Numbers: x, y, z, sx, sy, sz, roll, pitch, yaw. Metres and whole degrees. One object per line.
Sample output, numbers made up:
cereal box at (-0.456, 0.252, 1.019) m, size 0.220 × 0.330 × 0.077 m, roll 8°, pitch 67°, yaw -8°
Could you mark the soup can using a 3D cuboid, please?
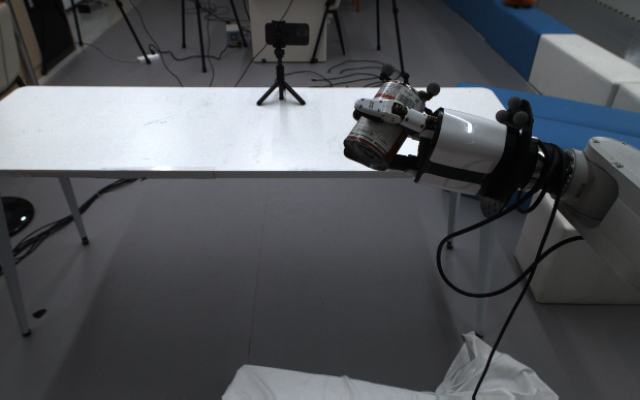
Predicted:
soup can at (0.085, -0.101, 0.643) m, size 0.067 × 0.067 × 0.101 m, roll 27°, pitch 75°, yaw 31°
